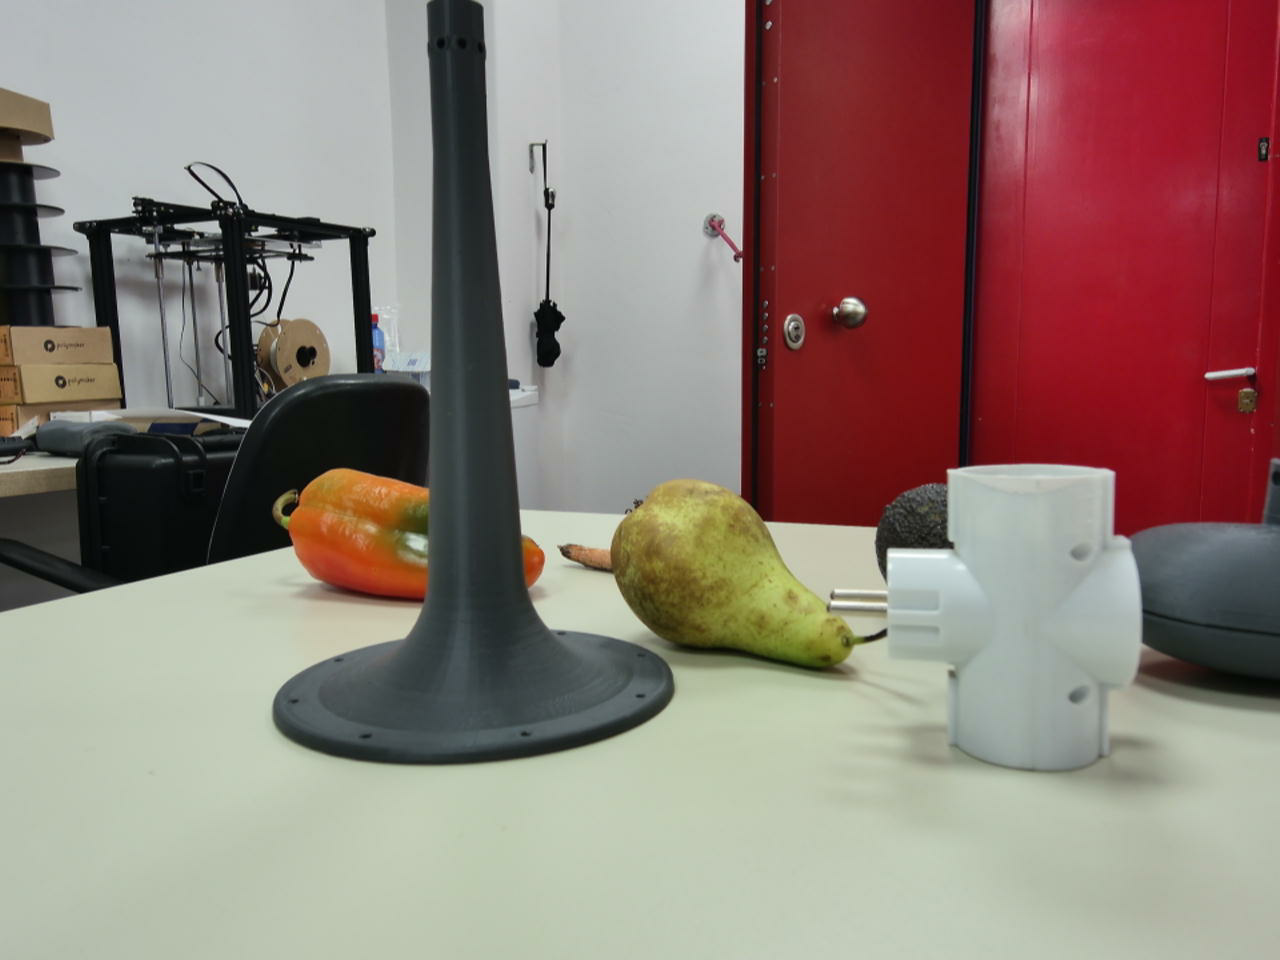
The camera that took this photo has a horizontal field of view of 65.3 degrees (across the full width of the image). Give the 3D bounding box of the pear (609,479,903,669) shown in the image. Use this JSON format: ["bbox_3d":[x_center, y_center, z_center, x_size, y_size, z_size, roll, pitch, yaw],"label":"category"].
[{"bbox_3d":[0.054,0.039,0.435,0.144,0.075,0.071,2,4,32],"label":"pear"}]
